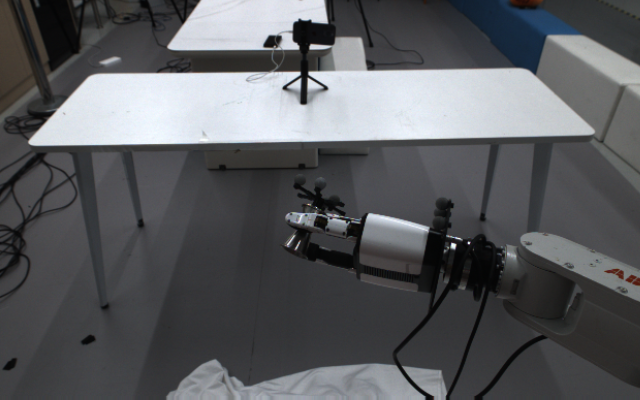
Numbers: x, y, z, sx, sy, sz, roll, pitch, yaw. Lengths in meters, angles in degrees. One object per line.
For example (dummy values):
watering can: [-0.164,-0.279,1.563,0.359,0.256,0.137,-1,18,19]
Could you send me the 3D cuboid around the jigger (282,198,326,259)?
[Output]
jigger: [-0.023,0.042,0.679,0.043,0.043,0.071,20,73,24]
